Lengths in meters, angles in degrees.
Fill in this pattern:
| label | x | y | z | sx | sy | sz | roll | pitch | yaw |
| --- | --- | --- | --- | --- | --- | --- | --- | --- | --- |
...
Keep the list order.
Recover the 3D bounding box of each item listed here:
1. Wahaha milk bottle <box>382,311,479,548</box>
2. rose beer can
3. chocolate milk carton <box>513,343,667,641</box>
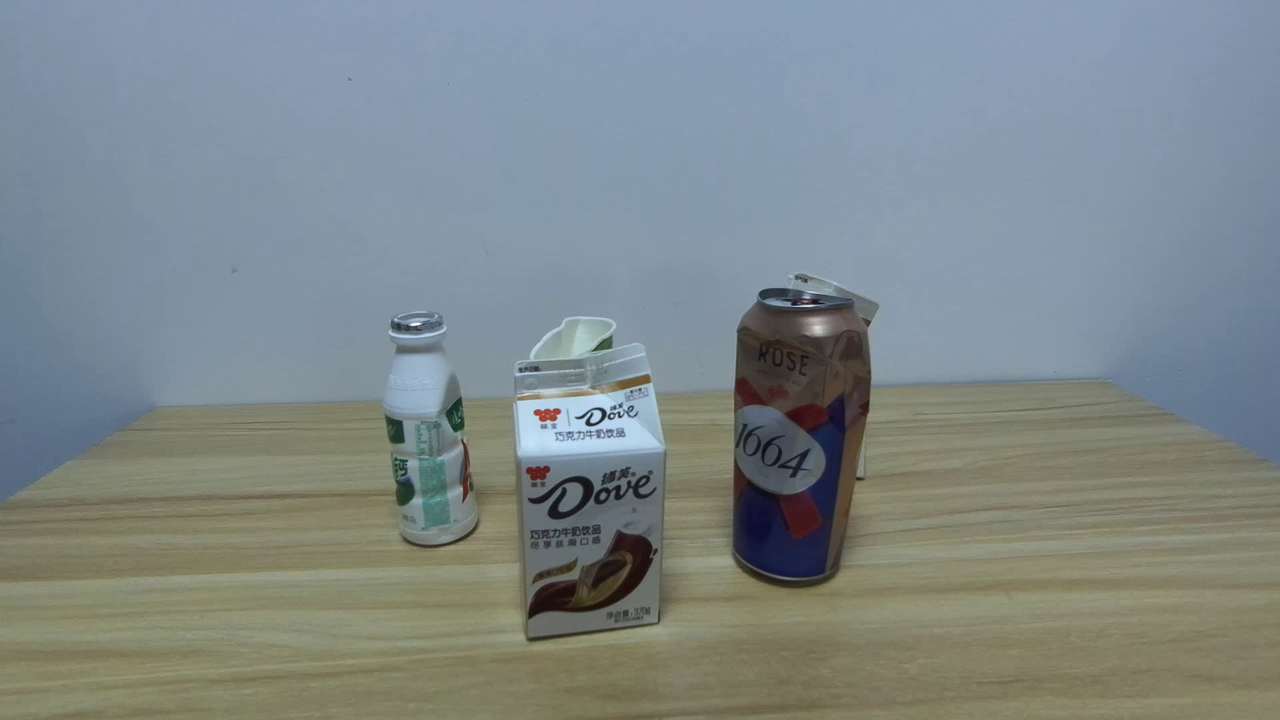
| label | x | y | z | sx | sy | sz | roll | pitch | yaw |
| --- | --- | --- | --- | --- | --- | --- | --- | --- | --- |
| Wahaha milk bottle | -0.135 | 0.045 | 0.455 | 0.056 | 0.147 | 0.056 | -1 | 17 | 0 |
| rose beer can | 0.092 | 0.044 | 0.410 | 0.065 | 0.167 | 0.075 | -6 | 17 | -23 |
| chocolate milk carton | -0.029 | 0.064 | 0.383 | 0.075 | 0.148 | 0.074 | -3 | 20 | -10 |
